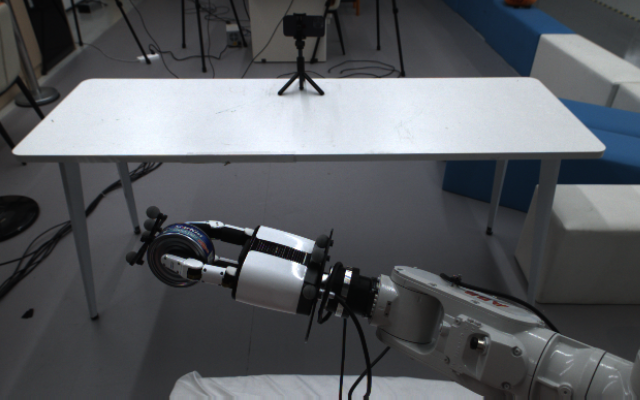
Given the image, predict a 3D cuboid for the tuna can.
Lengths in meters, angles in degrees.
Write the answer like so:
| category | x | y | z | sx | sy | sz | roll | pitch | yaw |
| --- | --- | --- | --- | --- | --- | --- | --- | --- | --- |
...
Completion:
| category | x | y | z | sx | sy | sz | roll | pitch | yaw |
| --- | --- | --- | --- | --- | --- | --- | --- | --- | --- |
| tuna can | -0.188 | 0.077 | 0.663 | 0.085 | 0.085 | 0.034 | 4 | 22 | 2 |
